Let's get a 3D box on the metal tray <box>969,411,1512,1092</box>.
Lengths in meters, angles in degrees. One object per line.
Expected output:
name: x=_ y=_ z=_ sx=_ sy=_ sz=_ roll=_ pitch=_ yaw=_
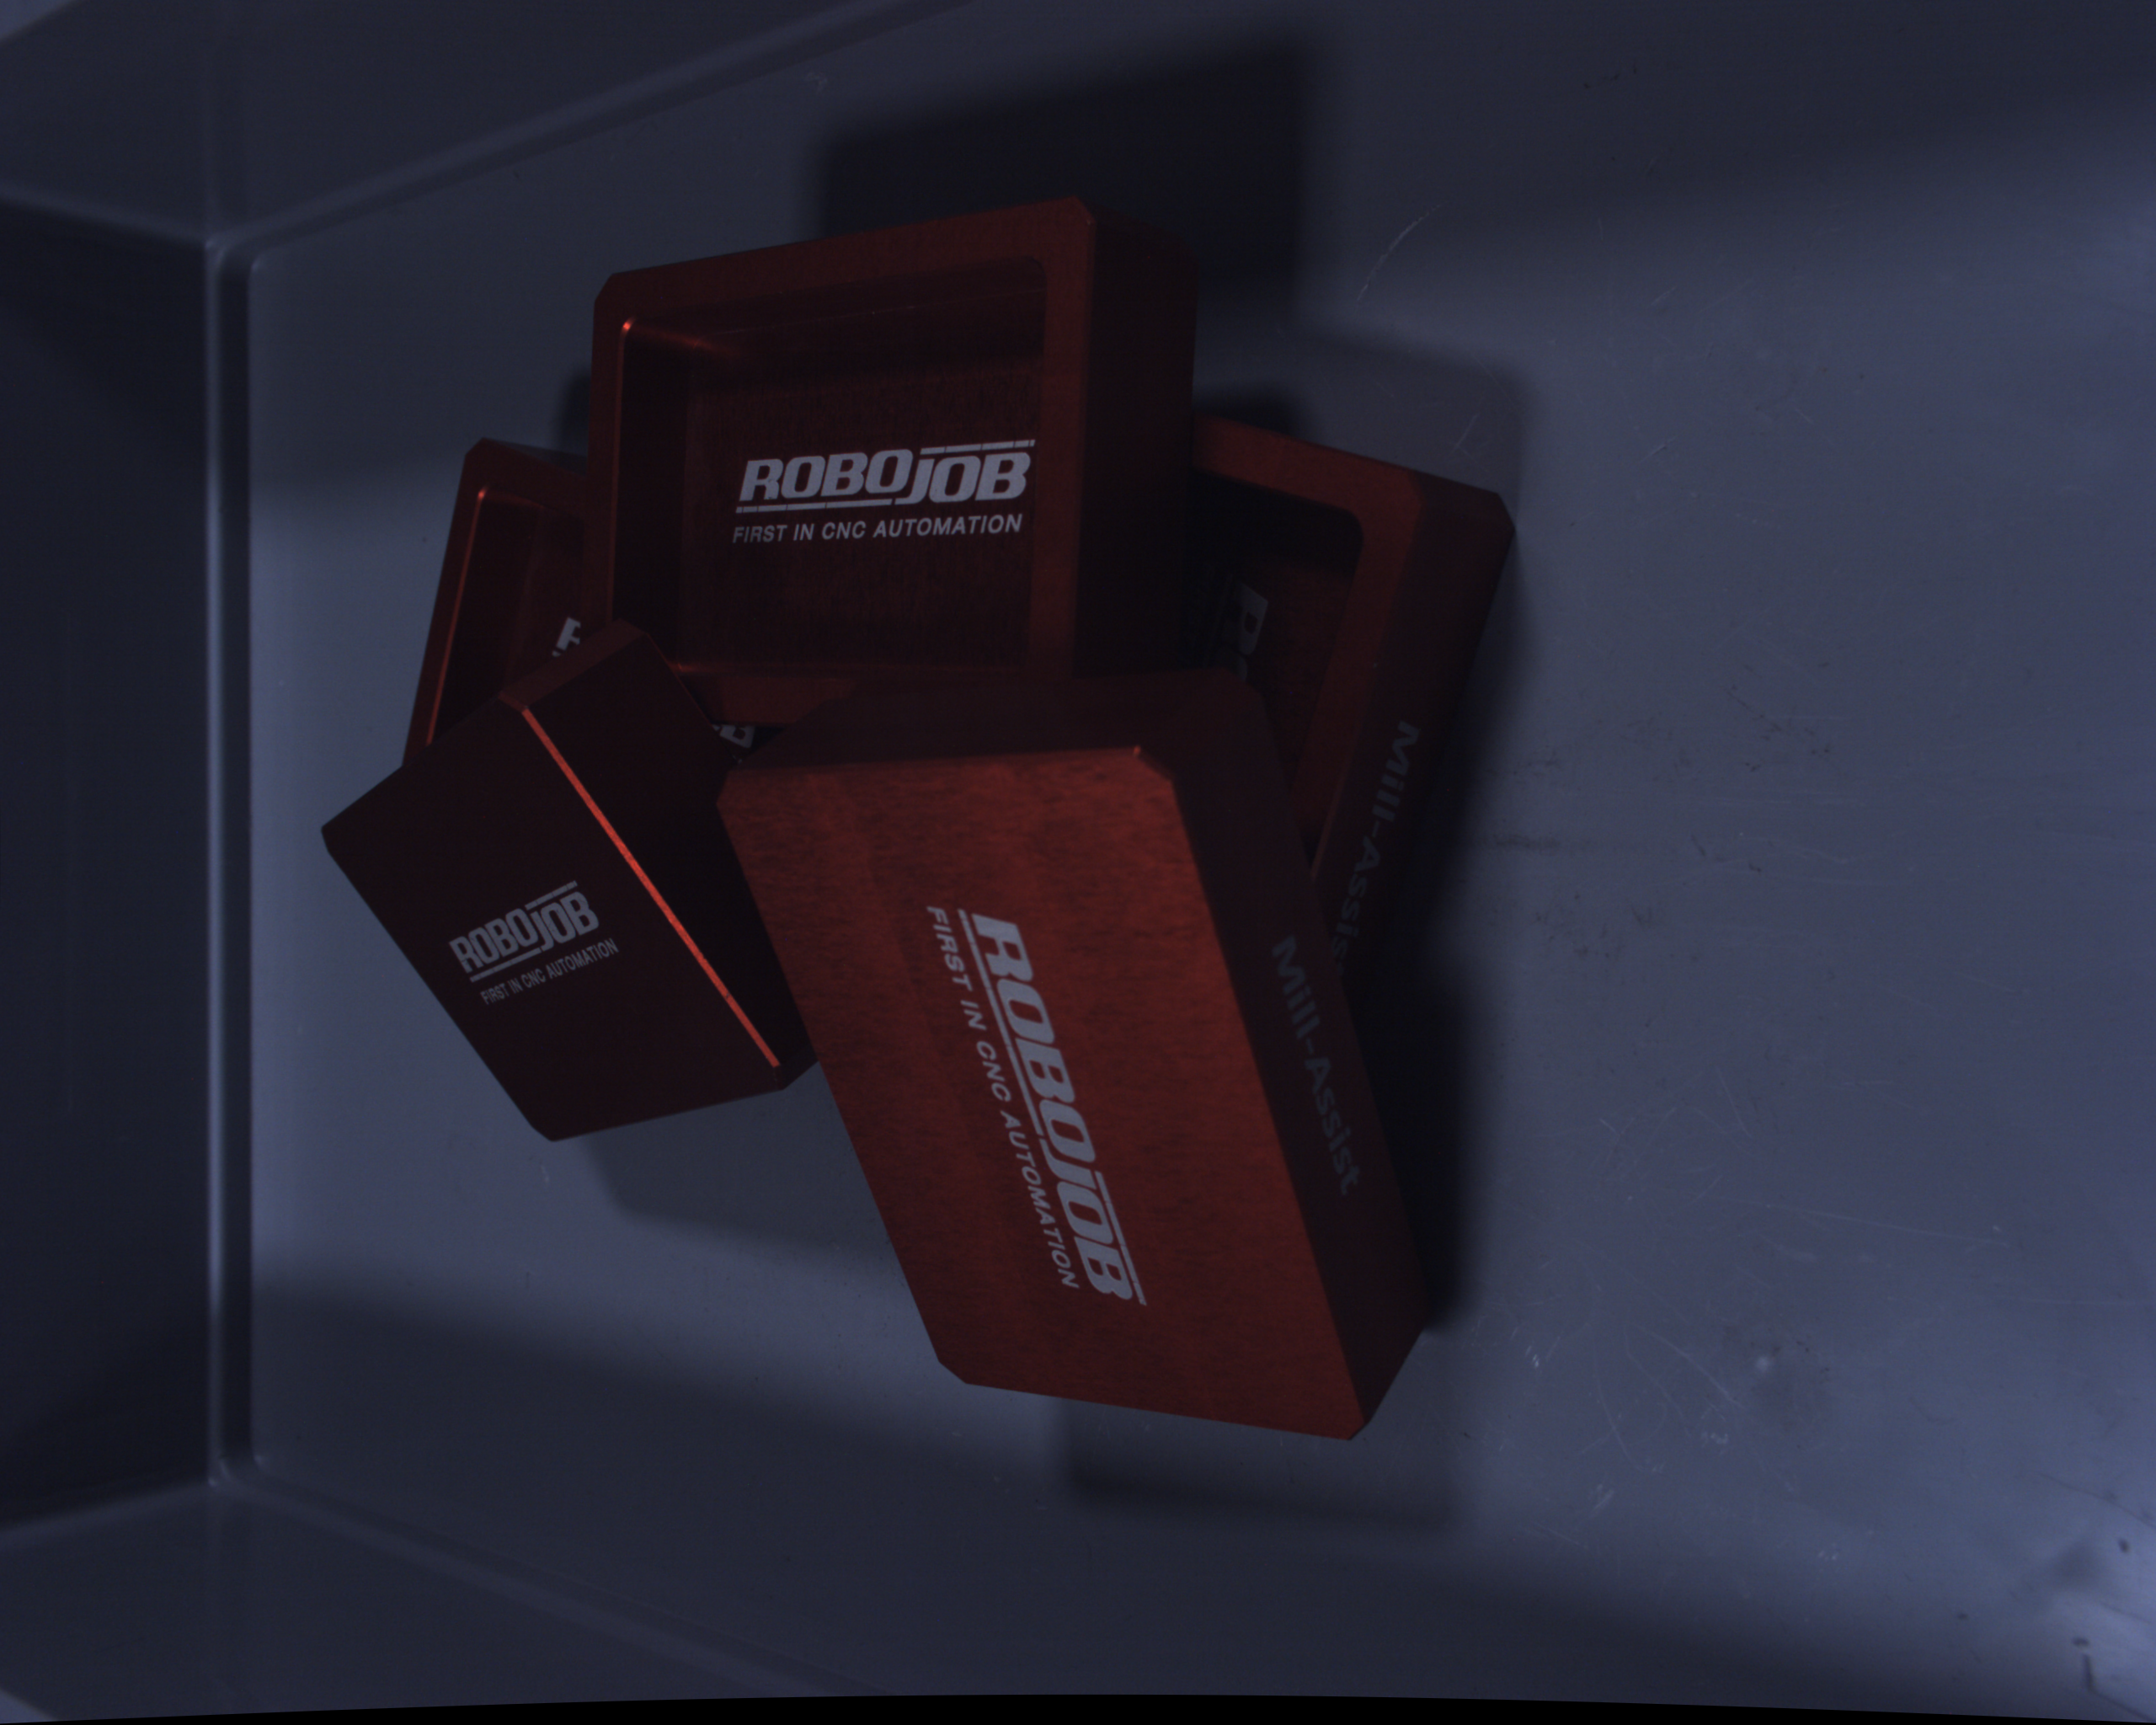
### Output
metal tray: x=0.017 y=-0.016 z=0.385 sx=0.090 sy=0.030 sz=0.129 roll=24 pitch=105 yaw=37

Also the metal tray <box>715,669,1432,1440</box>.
metal tray: x=0.001 y=0.034 z=0.357 sx=0.090 sy=0.030 sz=0.129 roll=-2 pitch=118 yaw=34

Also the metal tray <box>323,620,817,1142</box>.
metal tray: x=-0.104 y=0.010 z=0.441 sx=0.130 sy=0.030 sz=0.090 roll=-19 pitch=108 yaw=54

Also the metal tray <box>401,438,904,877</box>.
metal tray: x=-0.101 y=-0.039 z=0.480 sx=0.130 sy=0.030 sz=0.089 roll=25 pitch=106 yaw=37

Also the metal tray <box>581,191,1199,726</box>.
metal tray: x=-0.040 y=-0.070 z=0.393 sx=0.130 sy=0.030 sz=0.089 roll=5 pitch=93 yaw=39
